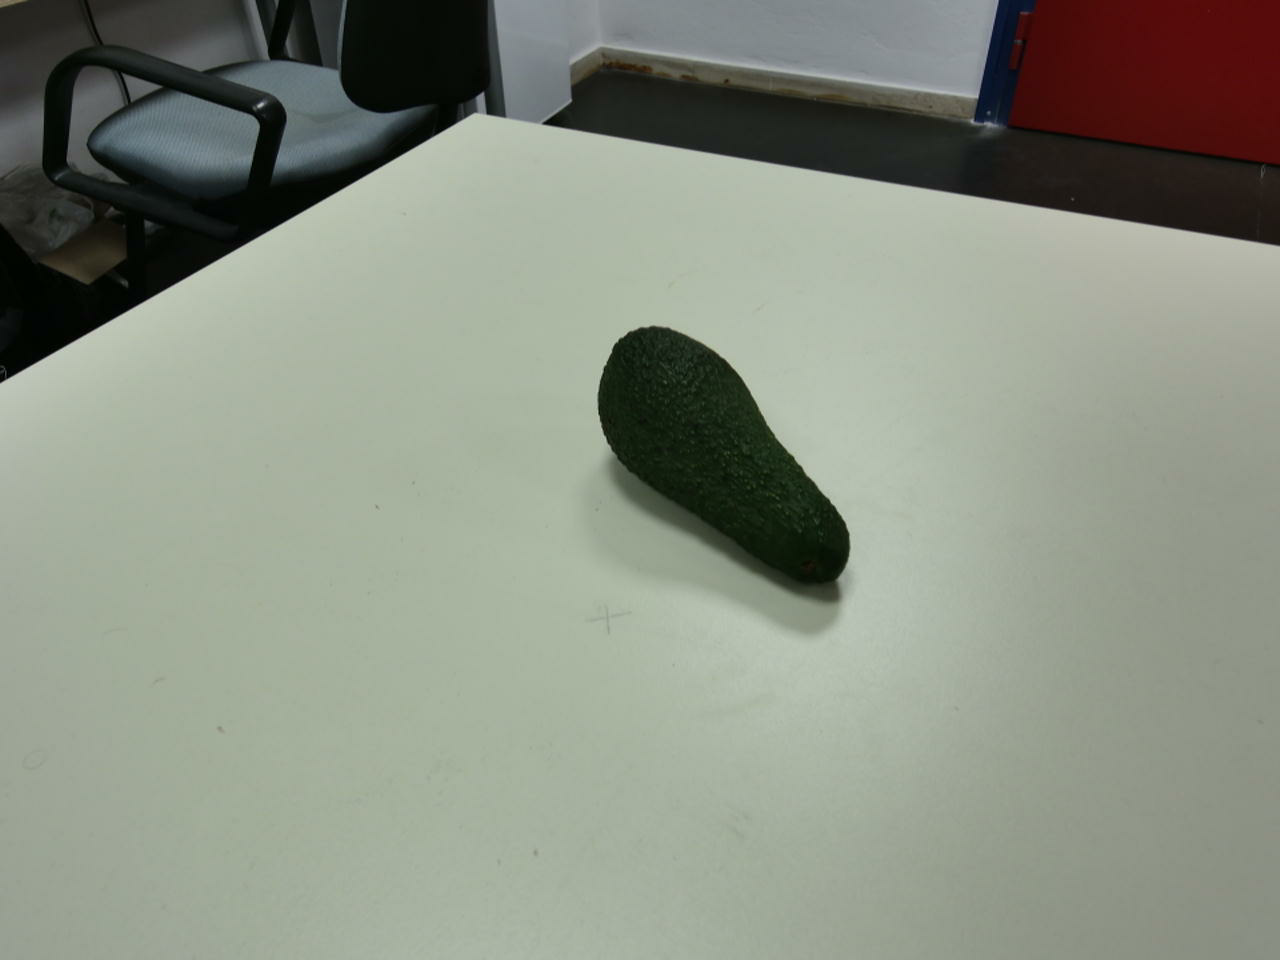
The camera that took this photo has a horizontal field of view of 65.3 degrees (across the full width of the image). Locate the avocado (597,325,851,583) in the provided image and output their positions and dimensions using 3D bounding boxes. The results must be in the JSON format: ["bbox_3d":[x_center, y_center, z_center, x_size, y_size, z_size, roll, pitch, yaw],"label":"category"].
[{"bbox_3d":[0.037,-0.018,0.418,0.141,0.067,0.063,28,46,33],"label":"avocado"}]
